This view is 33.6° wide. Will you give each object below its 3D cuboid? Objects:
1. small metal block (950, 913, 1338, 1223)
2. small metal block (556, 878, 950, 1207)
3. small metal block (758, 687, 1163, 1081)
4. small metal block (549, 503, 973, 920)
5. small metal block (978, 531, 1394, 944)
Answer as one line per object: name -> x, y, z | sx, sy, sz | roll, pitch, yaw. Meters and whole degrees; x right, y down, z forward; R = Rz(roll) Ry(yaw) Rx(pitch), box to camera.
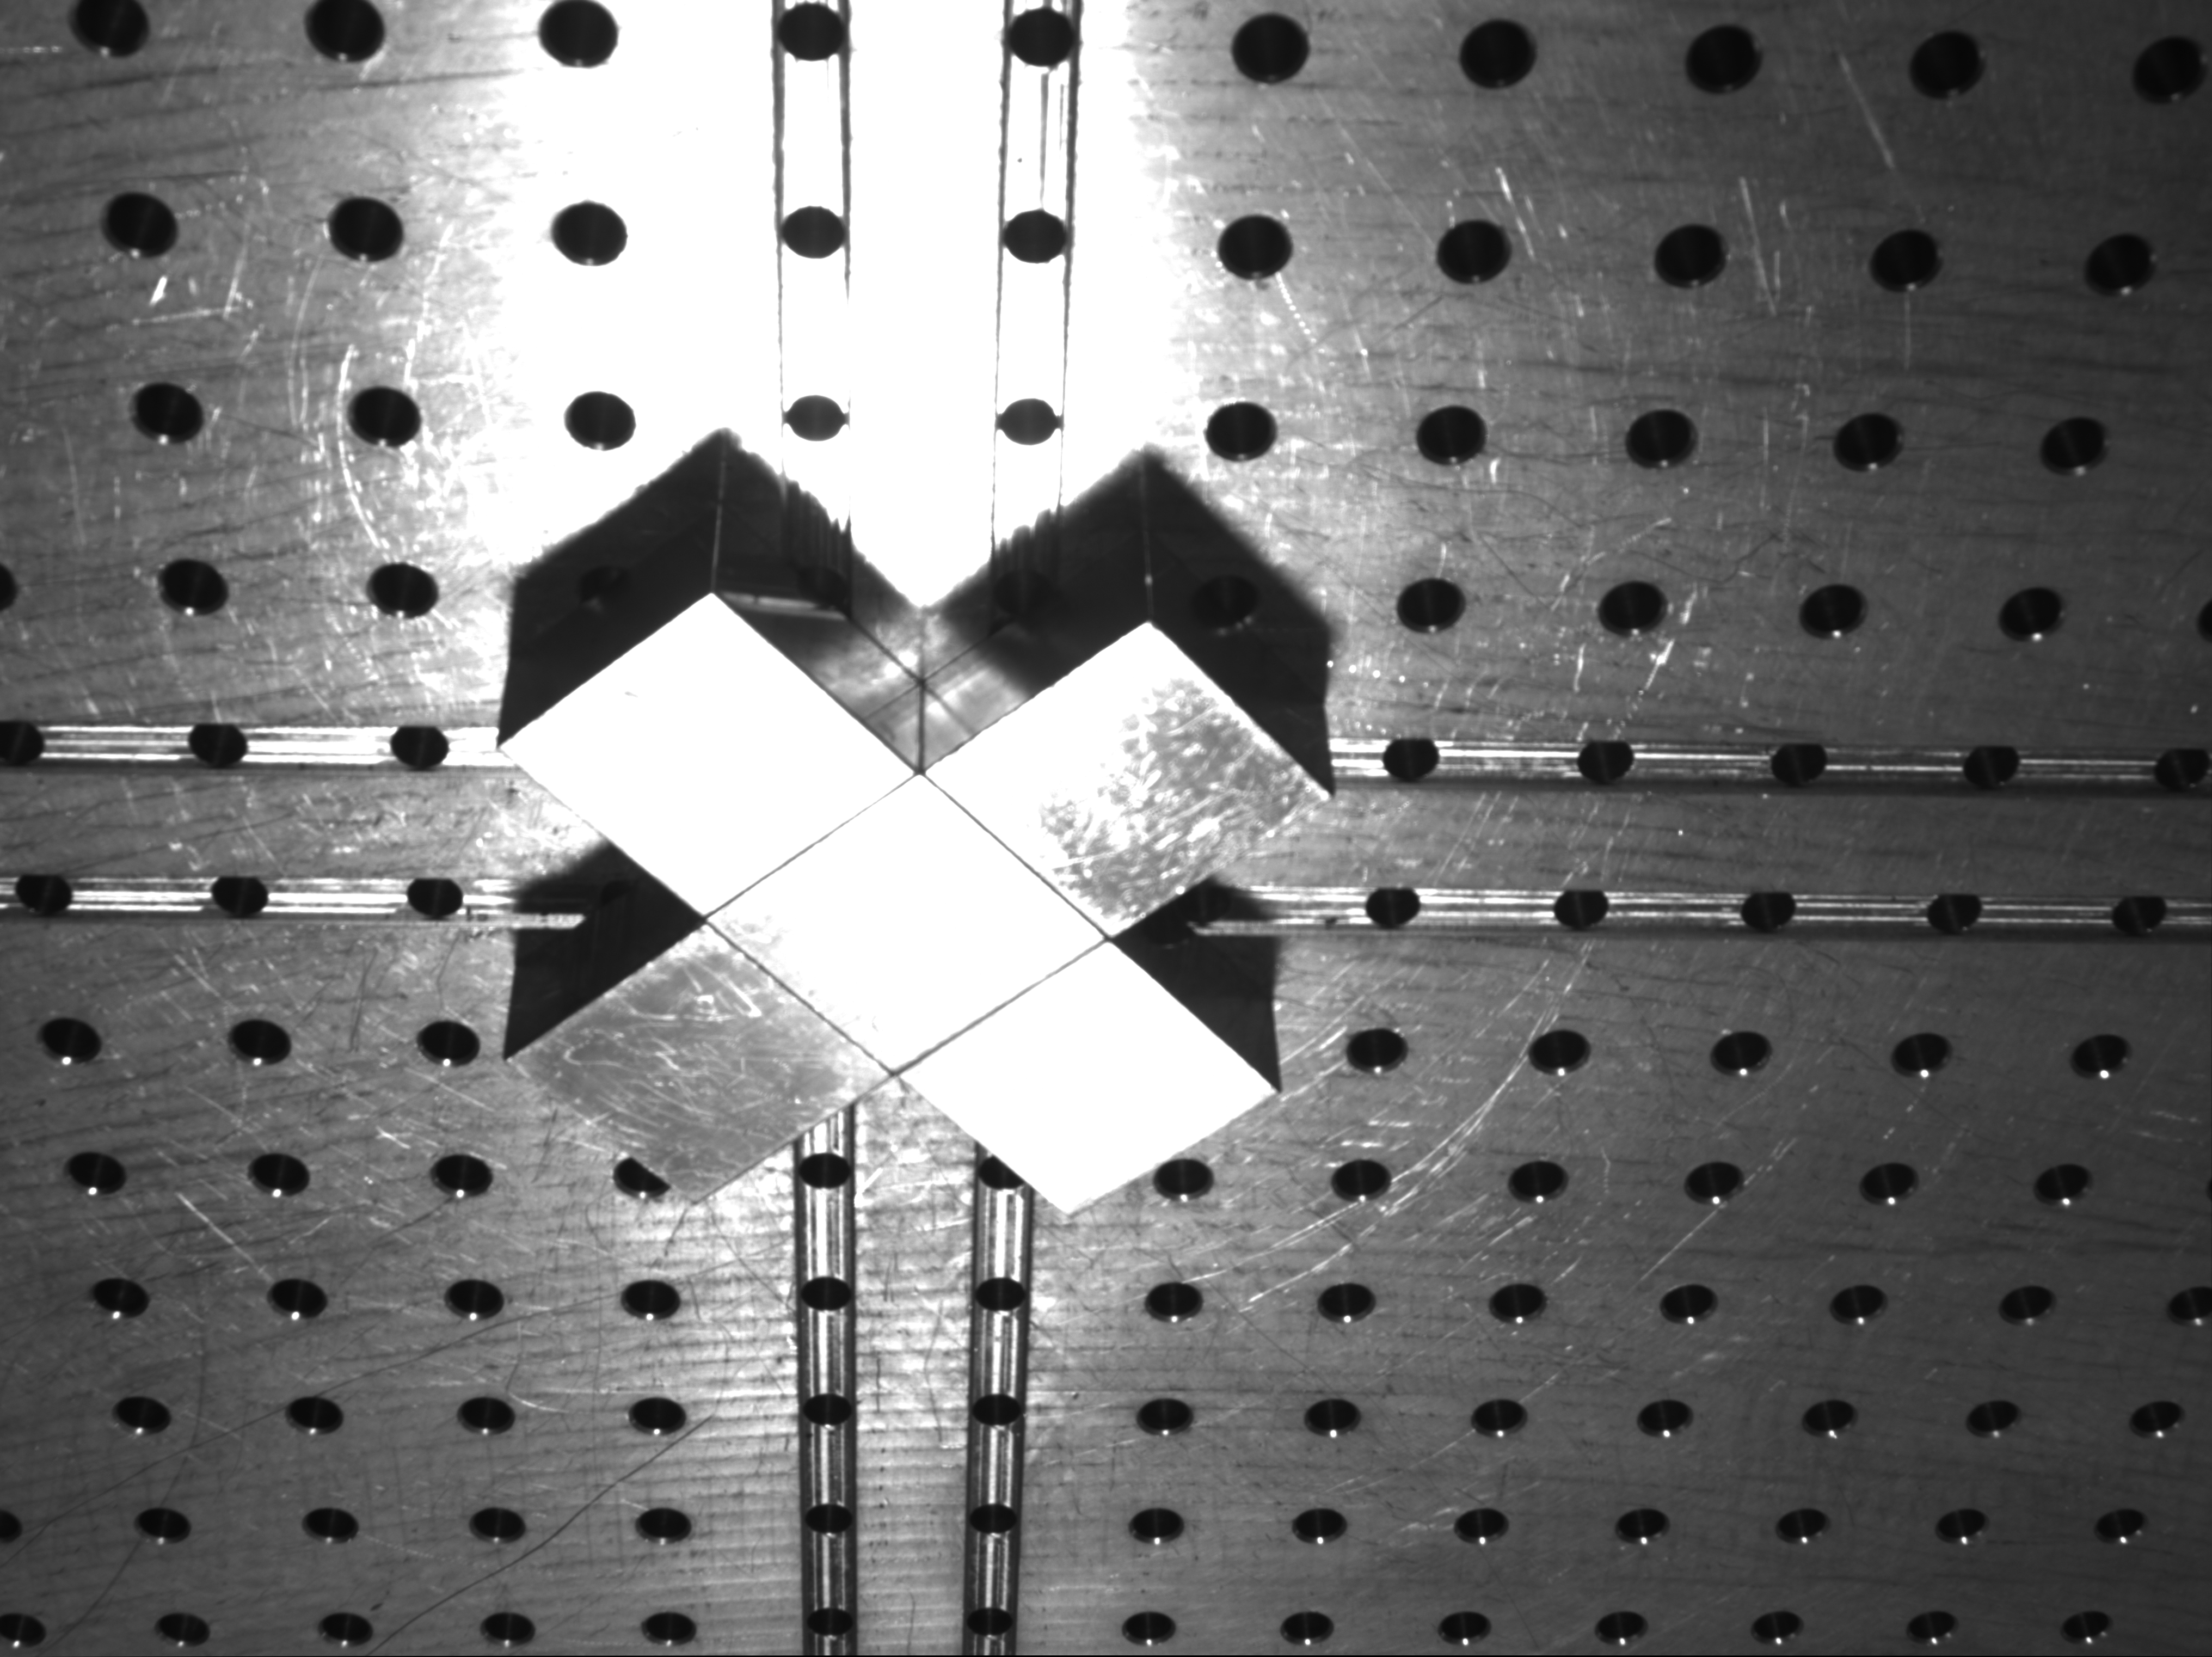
small metal block -> 0.007, 0.039, 0.674 | 0.050, 0.025, 0.050 | -33, 123, 23
small metal block -> -0.064, 0.035, 0.669 | 0.050, 0.025, 0.050 | -33, 123, 24
small metal block -> -0.025, 0.011, 0.648 | 0.050, 0.025, 0.050 | -33, 123, 24
small metal block -> -0.058, -0.019, 0.623 | 0.050, 0.025, 0.050 | -33, 123, 23
small metal block -> 0.013, -0.015, 0.629 | 0.050, 0.025, 0.050 | -33, 123, 24
